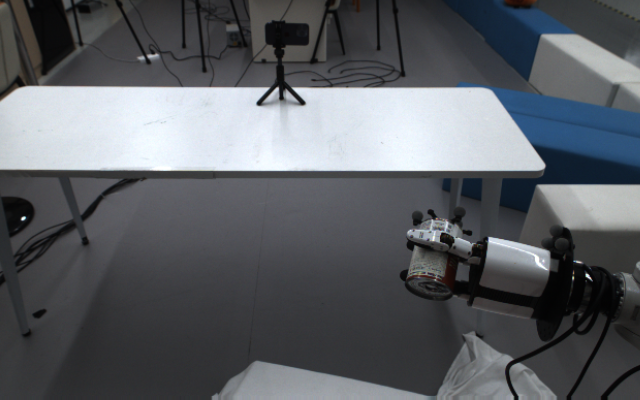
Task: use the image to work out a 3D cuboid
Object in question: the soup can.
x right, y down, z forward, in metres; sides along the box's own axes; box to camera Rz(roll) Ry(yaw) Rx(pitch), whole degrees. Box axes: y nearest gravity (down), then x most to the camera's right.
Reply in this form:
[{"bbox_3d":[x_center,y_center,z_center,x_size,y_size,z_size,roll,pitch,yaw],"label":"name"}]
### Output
[{"bbox_3d":[0.167,0.082,0.704,0.067,0.067,0.101,12,59,14],"label":"soup can"}]
